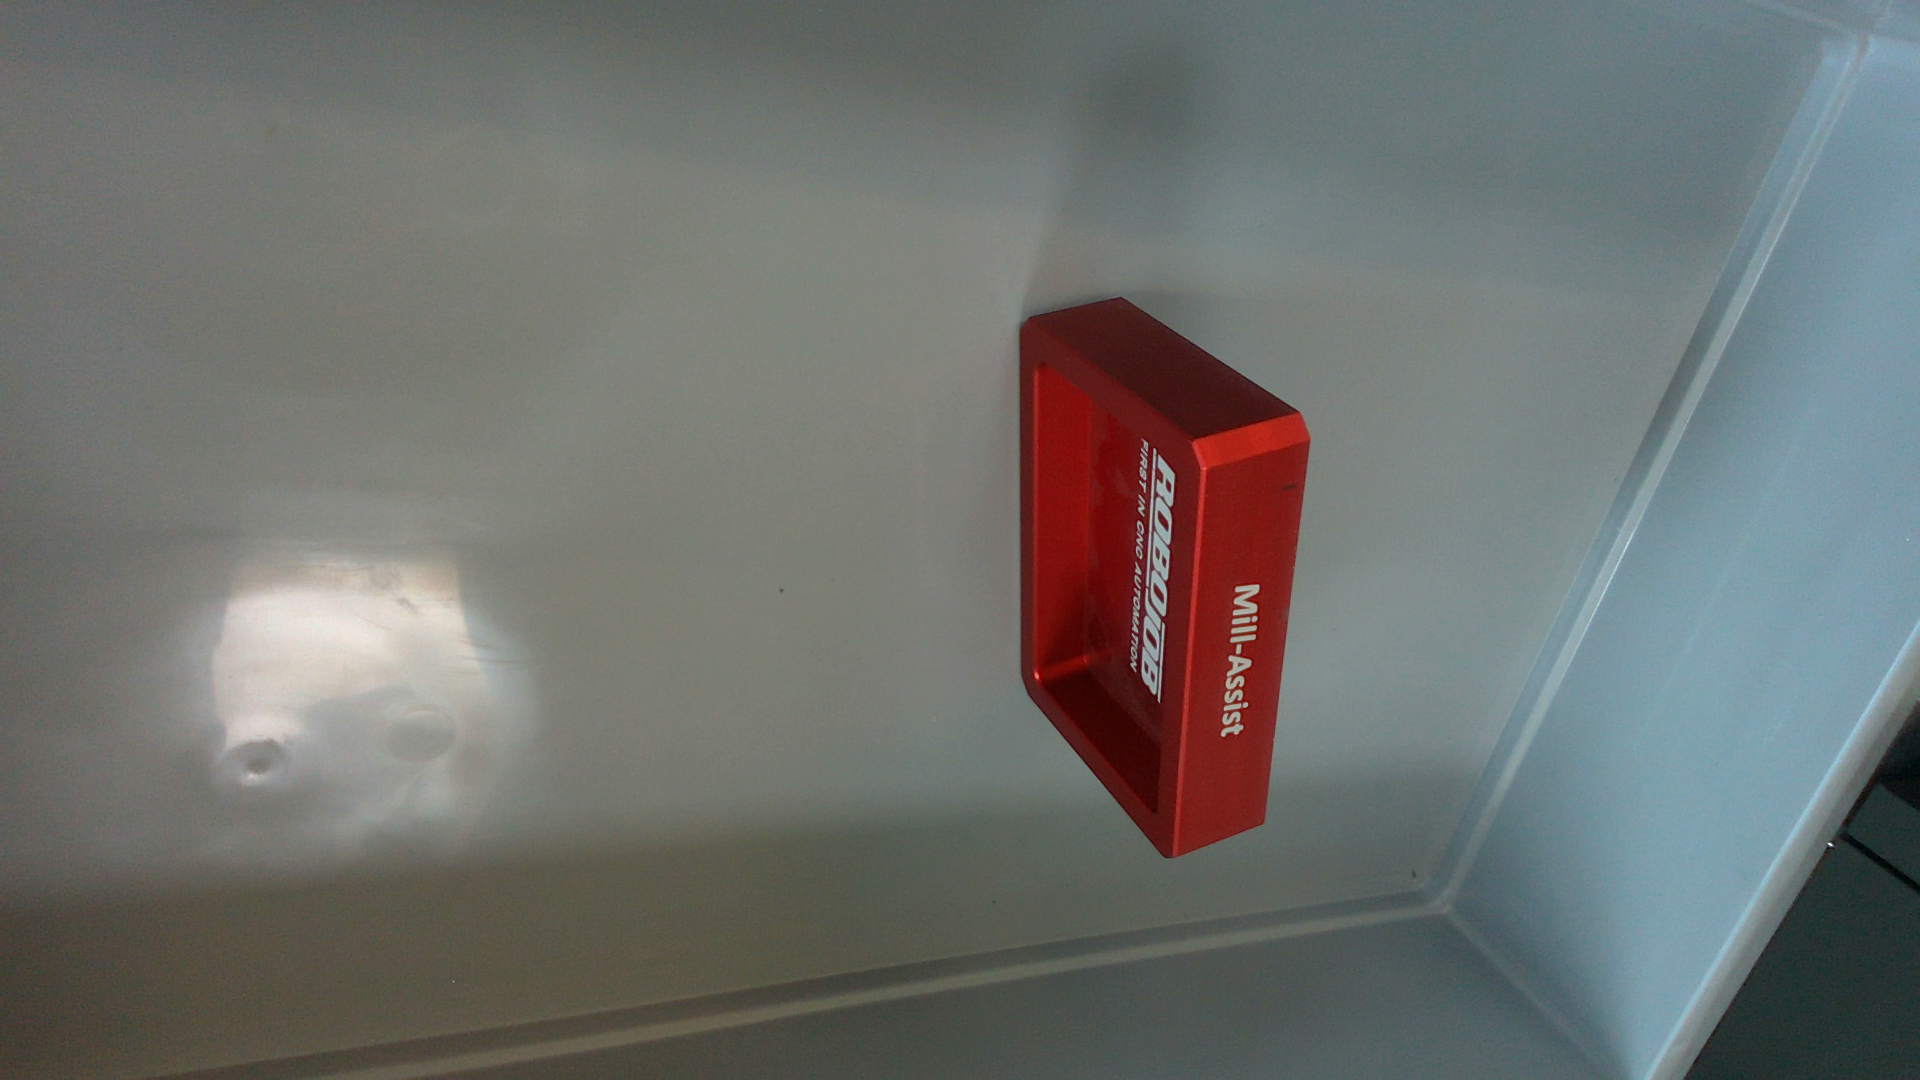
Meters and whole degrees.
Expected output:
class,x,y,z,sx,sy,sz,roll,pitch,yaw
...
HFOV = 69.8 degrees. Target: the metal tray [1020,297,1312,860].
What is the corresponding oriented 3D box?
class,x,y,z,sx,sy,sz,roll,pitch,yaw
metal tray,0.050,0.010,0.378,0.030,0.090,0.130,-16,125,-21
